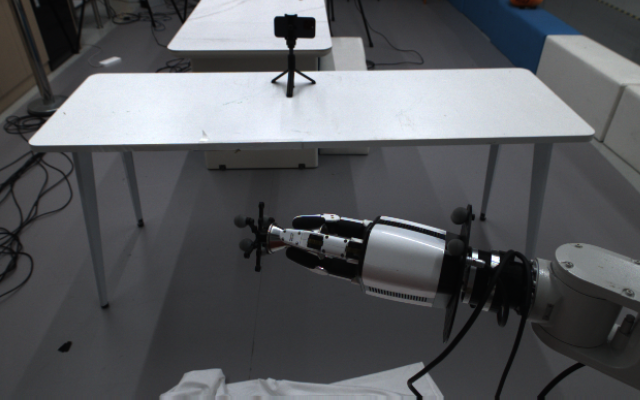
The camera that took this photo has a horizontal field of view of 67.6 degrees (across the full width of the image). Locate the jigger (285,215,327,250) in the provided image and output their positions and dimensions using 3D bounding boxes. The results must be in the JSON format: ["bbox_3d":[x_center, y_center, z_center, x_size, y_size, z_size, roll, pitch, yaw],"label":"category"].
[{"bbox_3d":[-0.020,0.045,0.605,0.071,0.043,0.043,2,34,16],"label":"jigger"}]
